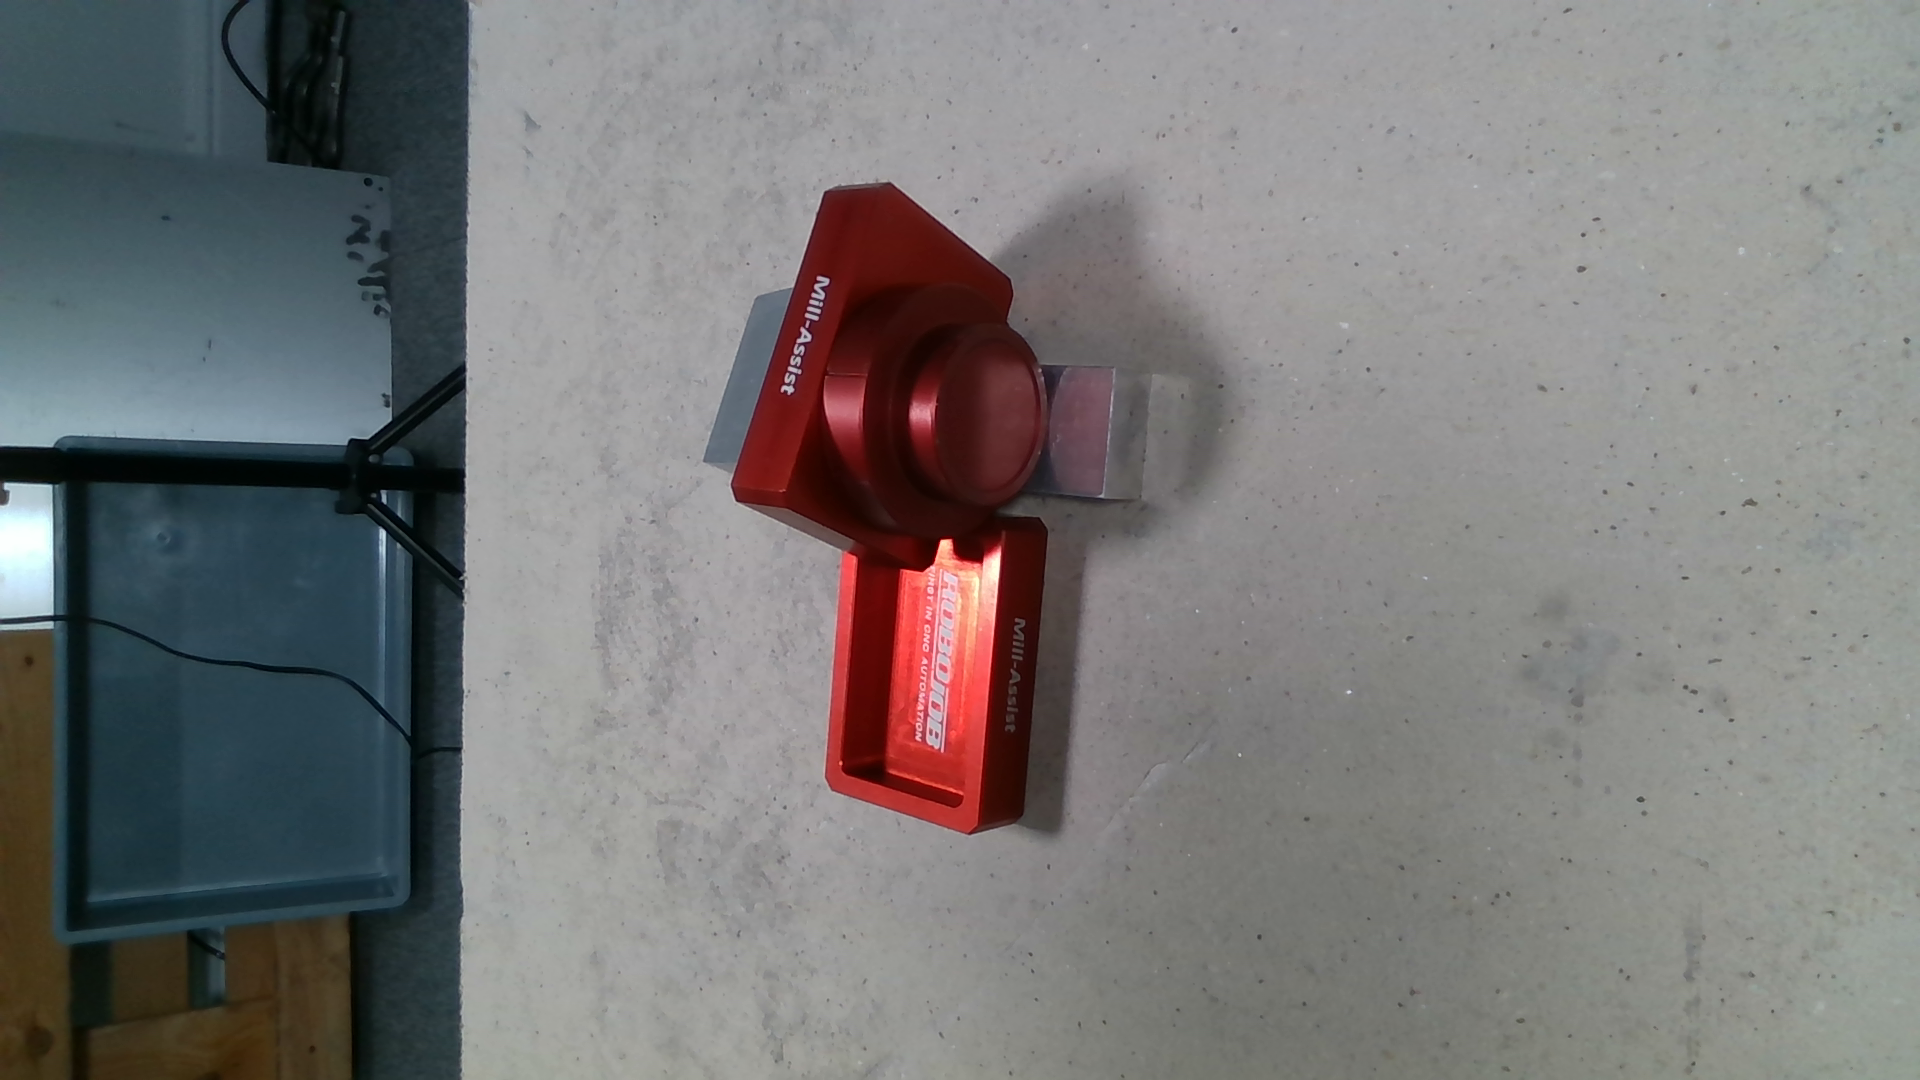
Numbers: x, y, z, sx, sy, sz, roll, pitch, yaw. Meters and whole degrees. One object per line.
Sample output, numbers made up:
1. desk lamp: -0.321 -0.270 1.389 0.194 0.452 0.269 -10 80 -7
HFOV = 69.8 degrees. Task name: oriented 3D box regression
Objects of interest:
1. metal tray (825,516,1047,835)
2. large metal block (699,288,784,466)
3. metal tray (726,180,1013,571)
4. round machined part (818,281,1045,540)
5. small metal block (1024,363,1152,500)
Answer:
1. metal tray: -0.012 0.051 0.590 0.090 0.030 0.130 8 96 40
2. large metal block: -0.060 -0.063 0.592 0.080 0.050 0.080 3 74 53
3. metal tray: -0.032 -0.063 0.544 0.030 0.090 0.130 9 78 41
4. round machined part: -0.004 -0.049 0.524 0.042 0.098 0.098 8 96 40
5. small metal block: 0.046 -0.043 0.544 0.050 0.025 0.050 8 96 40
